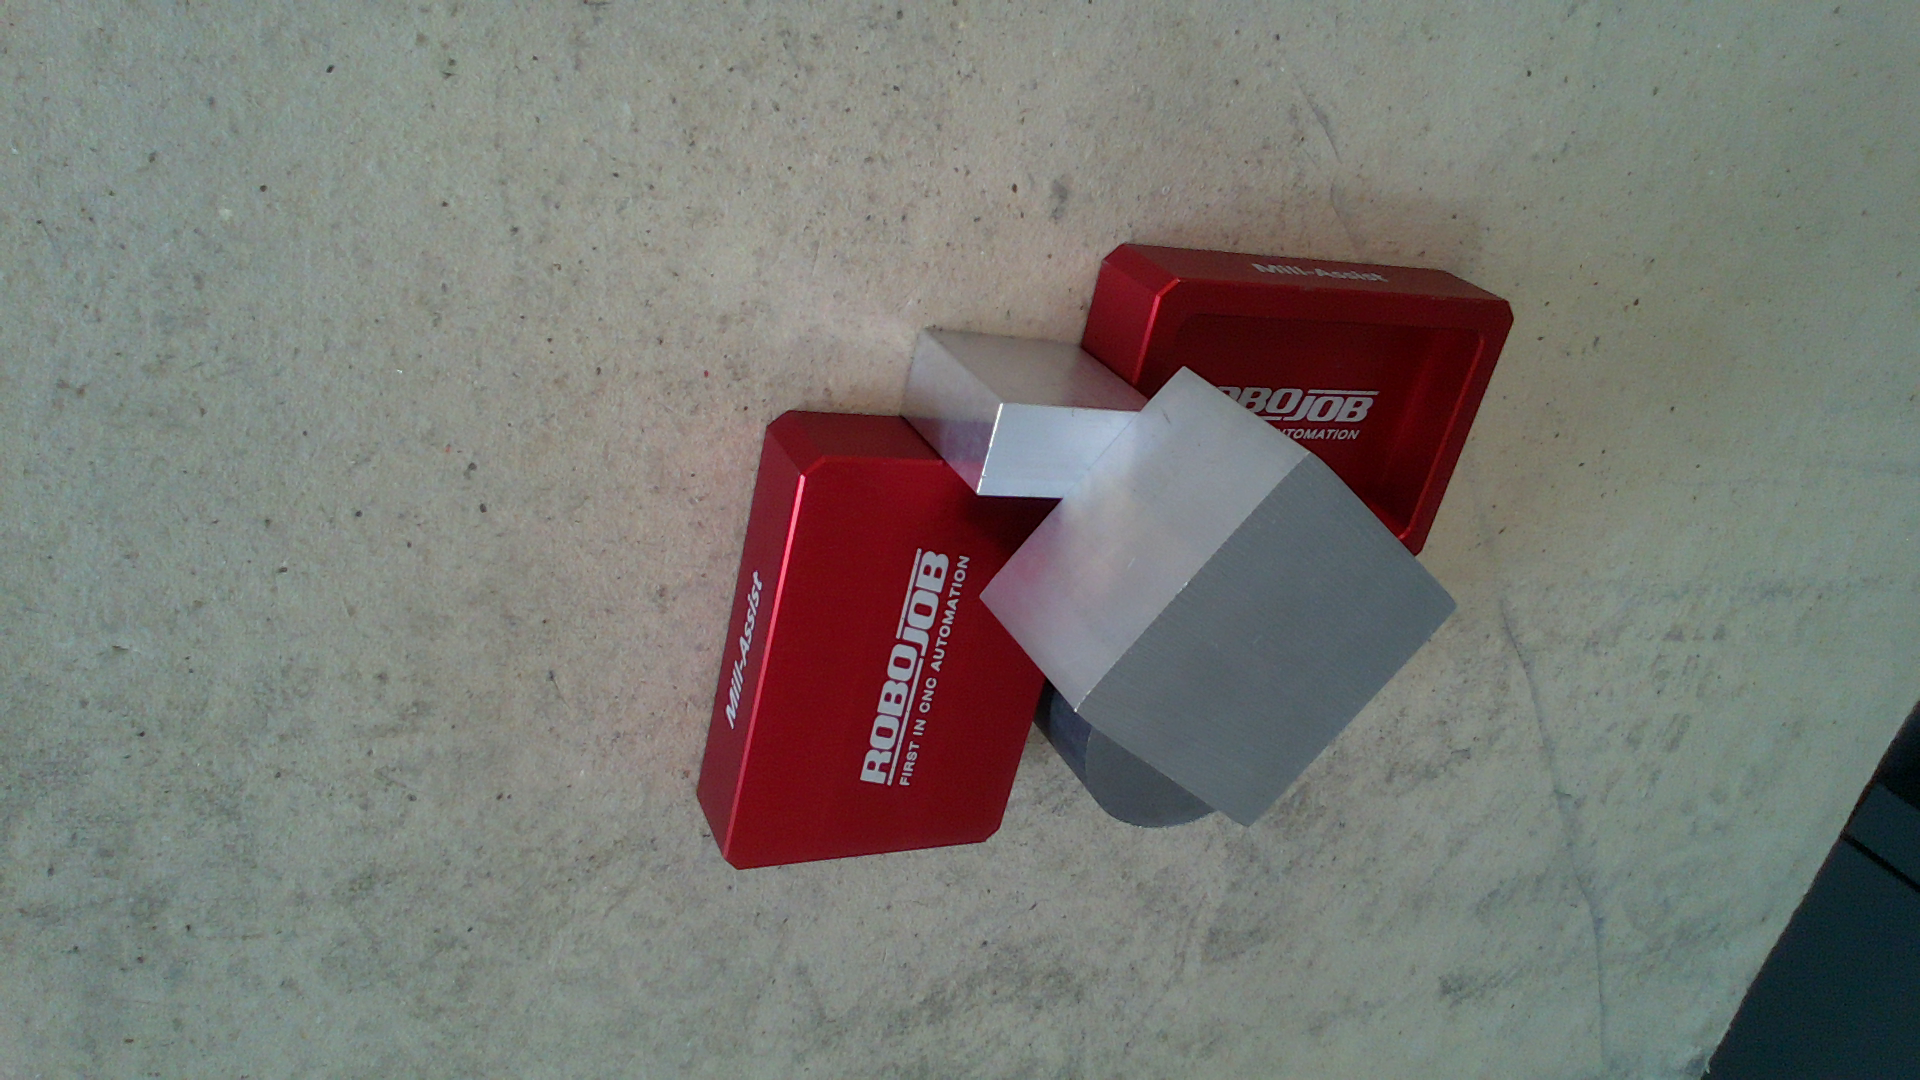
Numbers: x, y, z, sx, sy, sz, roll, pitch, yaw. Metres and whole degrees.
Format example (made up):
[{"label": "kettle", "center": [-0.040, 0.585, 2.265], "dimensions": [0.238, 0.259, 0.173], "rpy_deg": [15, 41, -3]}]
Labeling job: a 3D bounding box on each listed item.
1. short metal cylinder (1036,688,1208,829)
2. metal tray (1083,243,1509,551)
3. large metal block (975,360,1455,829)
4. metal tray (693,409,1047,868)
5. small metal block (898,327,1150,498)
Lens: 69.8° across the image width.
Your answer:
[{"label": "short metal cylinder", "center": [0.063, 0.043, 0.433], "dimensions": [0.080, 0.050, 0.080], "rpy_deg": [-13, 124, -20]}, {"label": "metal tray", "center": [0.095, -0.037, 0.415], "dimensions": [0.130, 0.030, 0.090], "rpy_deg": [-2, 119, -28]}, {"label": "large metal block", "center": [0.066, 0.016, 0.352], "dimensions": [0.080, 0.050, 0.080], "rpy_deg": [-48, 129, 6]}, {"label": "metal tray", "center": [-0.020, 0.030, 0.395], "dimensions": [0.090, 0.030, 0.130], "rpy_deg": [1, 118, -28]}, {"label": "small metal block", "center": [0.018, -0.033, 0.363], "dimensions": [0.050, 0.050, 0.025], "rpy_deg": [1, 118, -29]}]
